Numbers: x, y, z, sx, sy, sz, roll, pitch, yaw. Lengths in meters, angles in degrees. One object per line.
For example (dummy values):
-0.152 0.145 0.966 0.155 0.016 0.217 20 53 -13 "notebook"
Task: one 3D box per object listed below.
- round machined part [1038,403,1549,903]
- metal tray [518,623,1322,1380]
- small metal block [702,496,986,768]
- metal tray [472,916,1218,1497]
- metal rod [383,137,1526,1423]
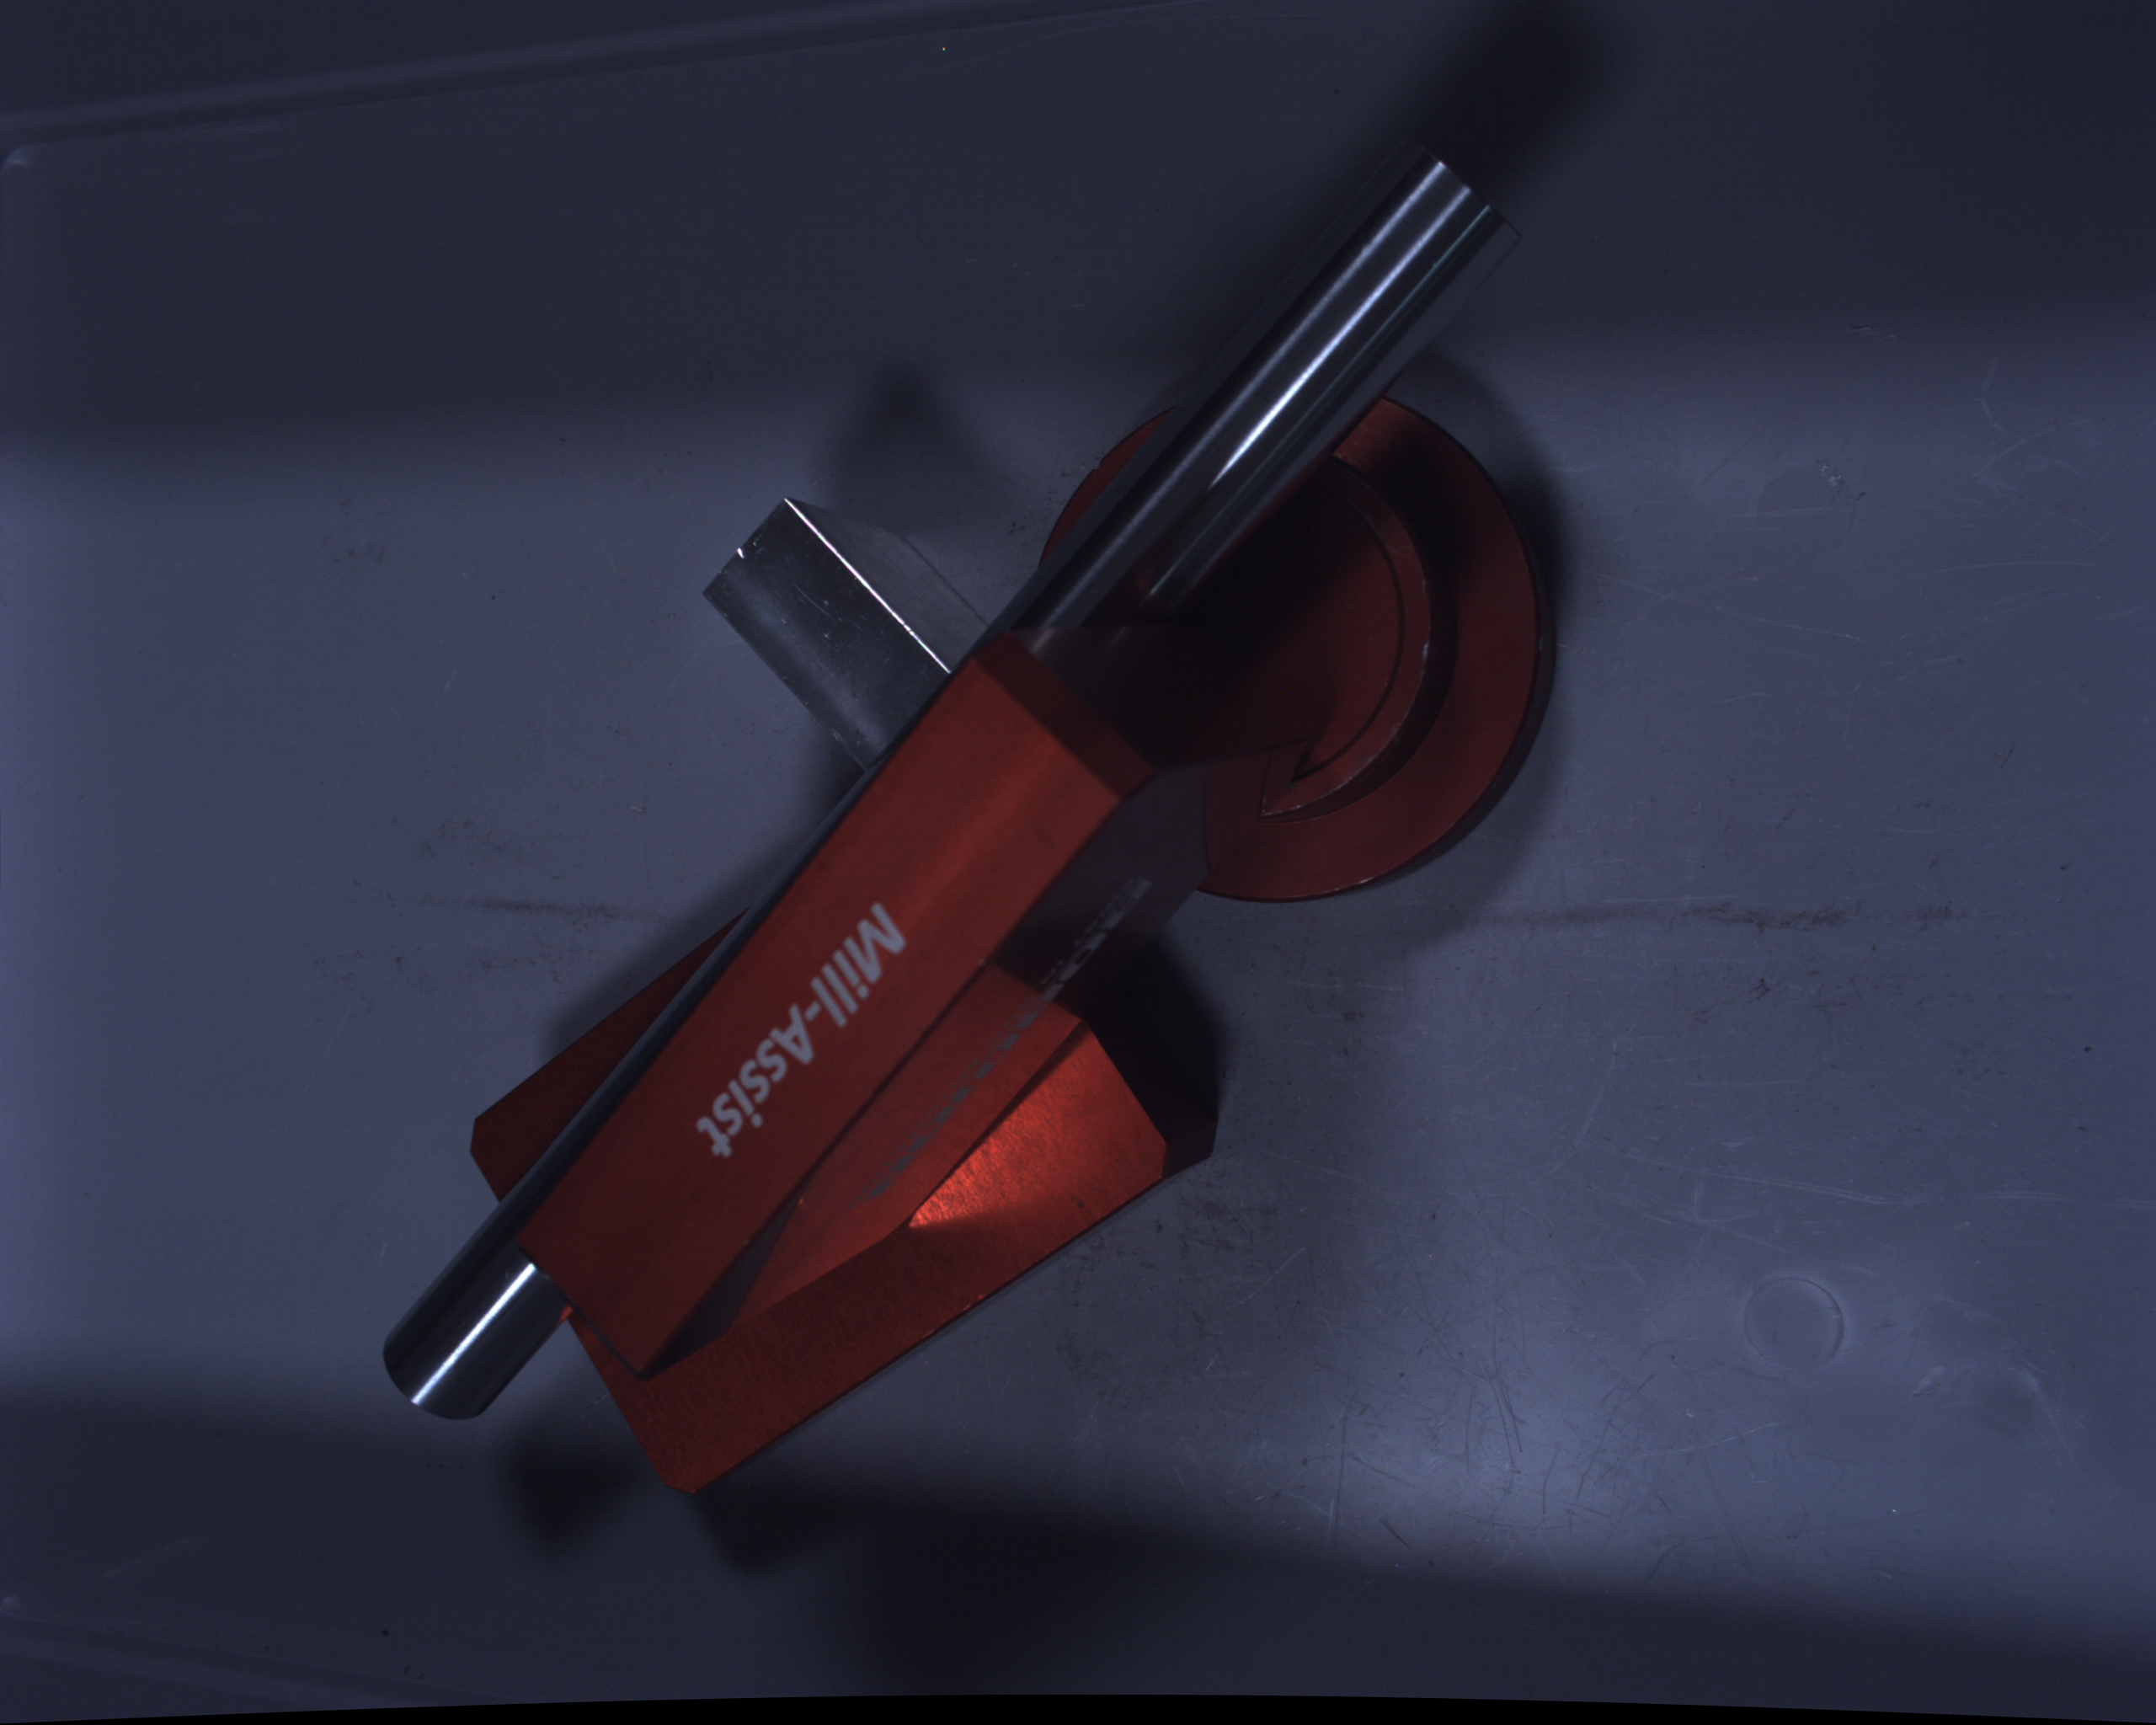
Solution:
0.036 -0.041 0.386 0.098 0.042 0.097 0 90 19 "round machined part"
-0.023 0.019 0.341 0.030 0.090 0.129 44 110 11 "metal tray"
-0.037 -0.042 0.408 0.025 0.050 0.050 -46 76 14 "small metal block"
-0.049 0.056 0.423 0.130 0.030 0.090 -36 79 16 "metal tray"
-0.034 -0.002 0.378 0.025 0.025 0.299 47 108 14 "metal rod"
